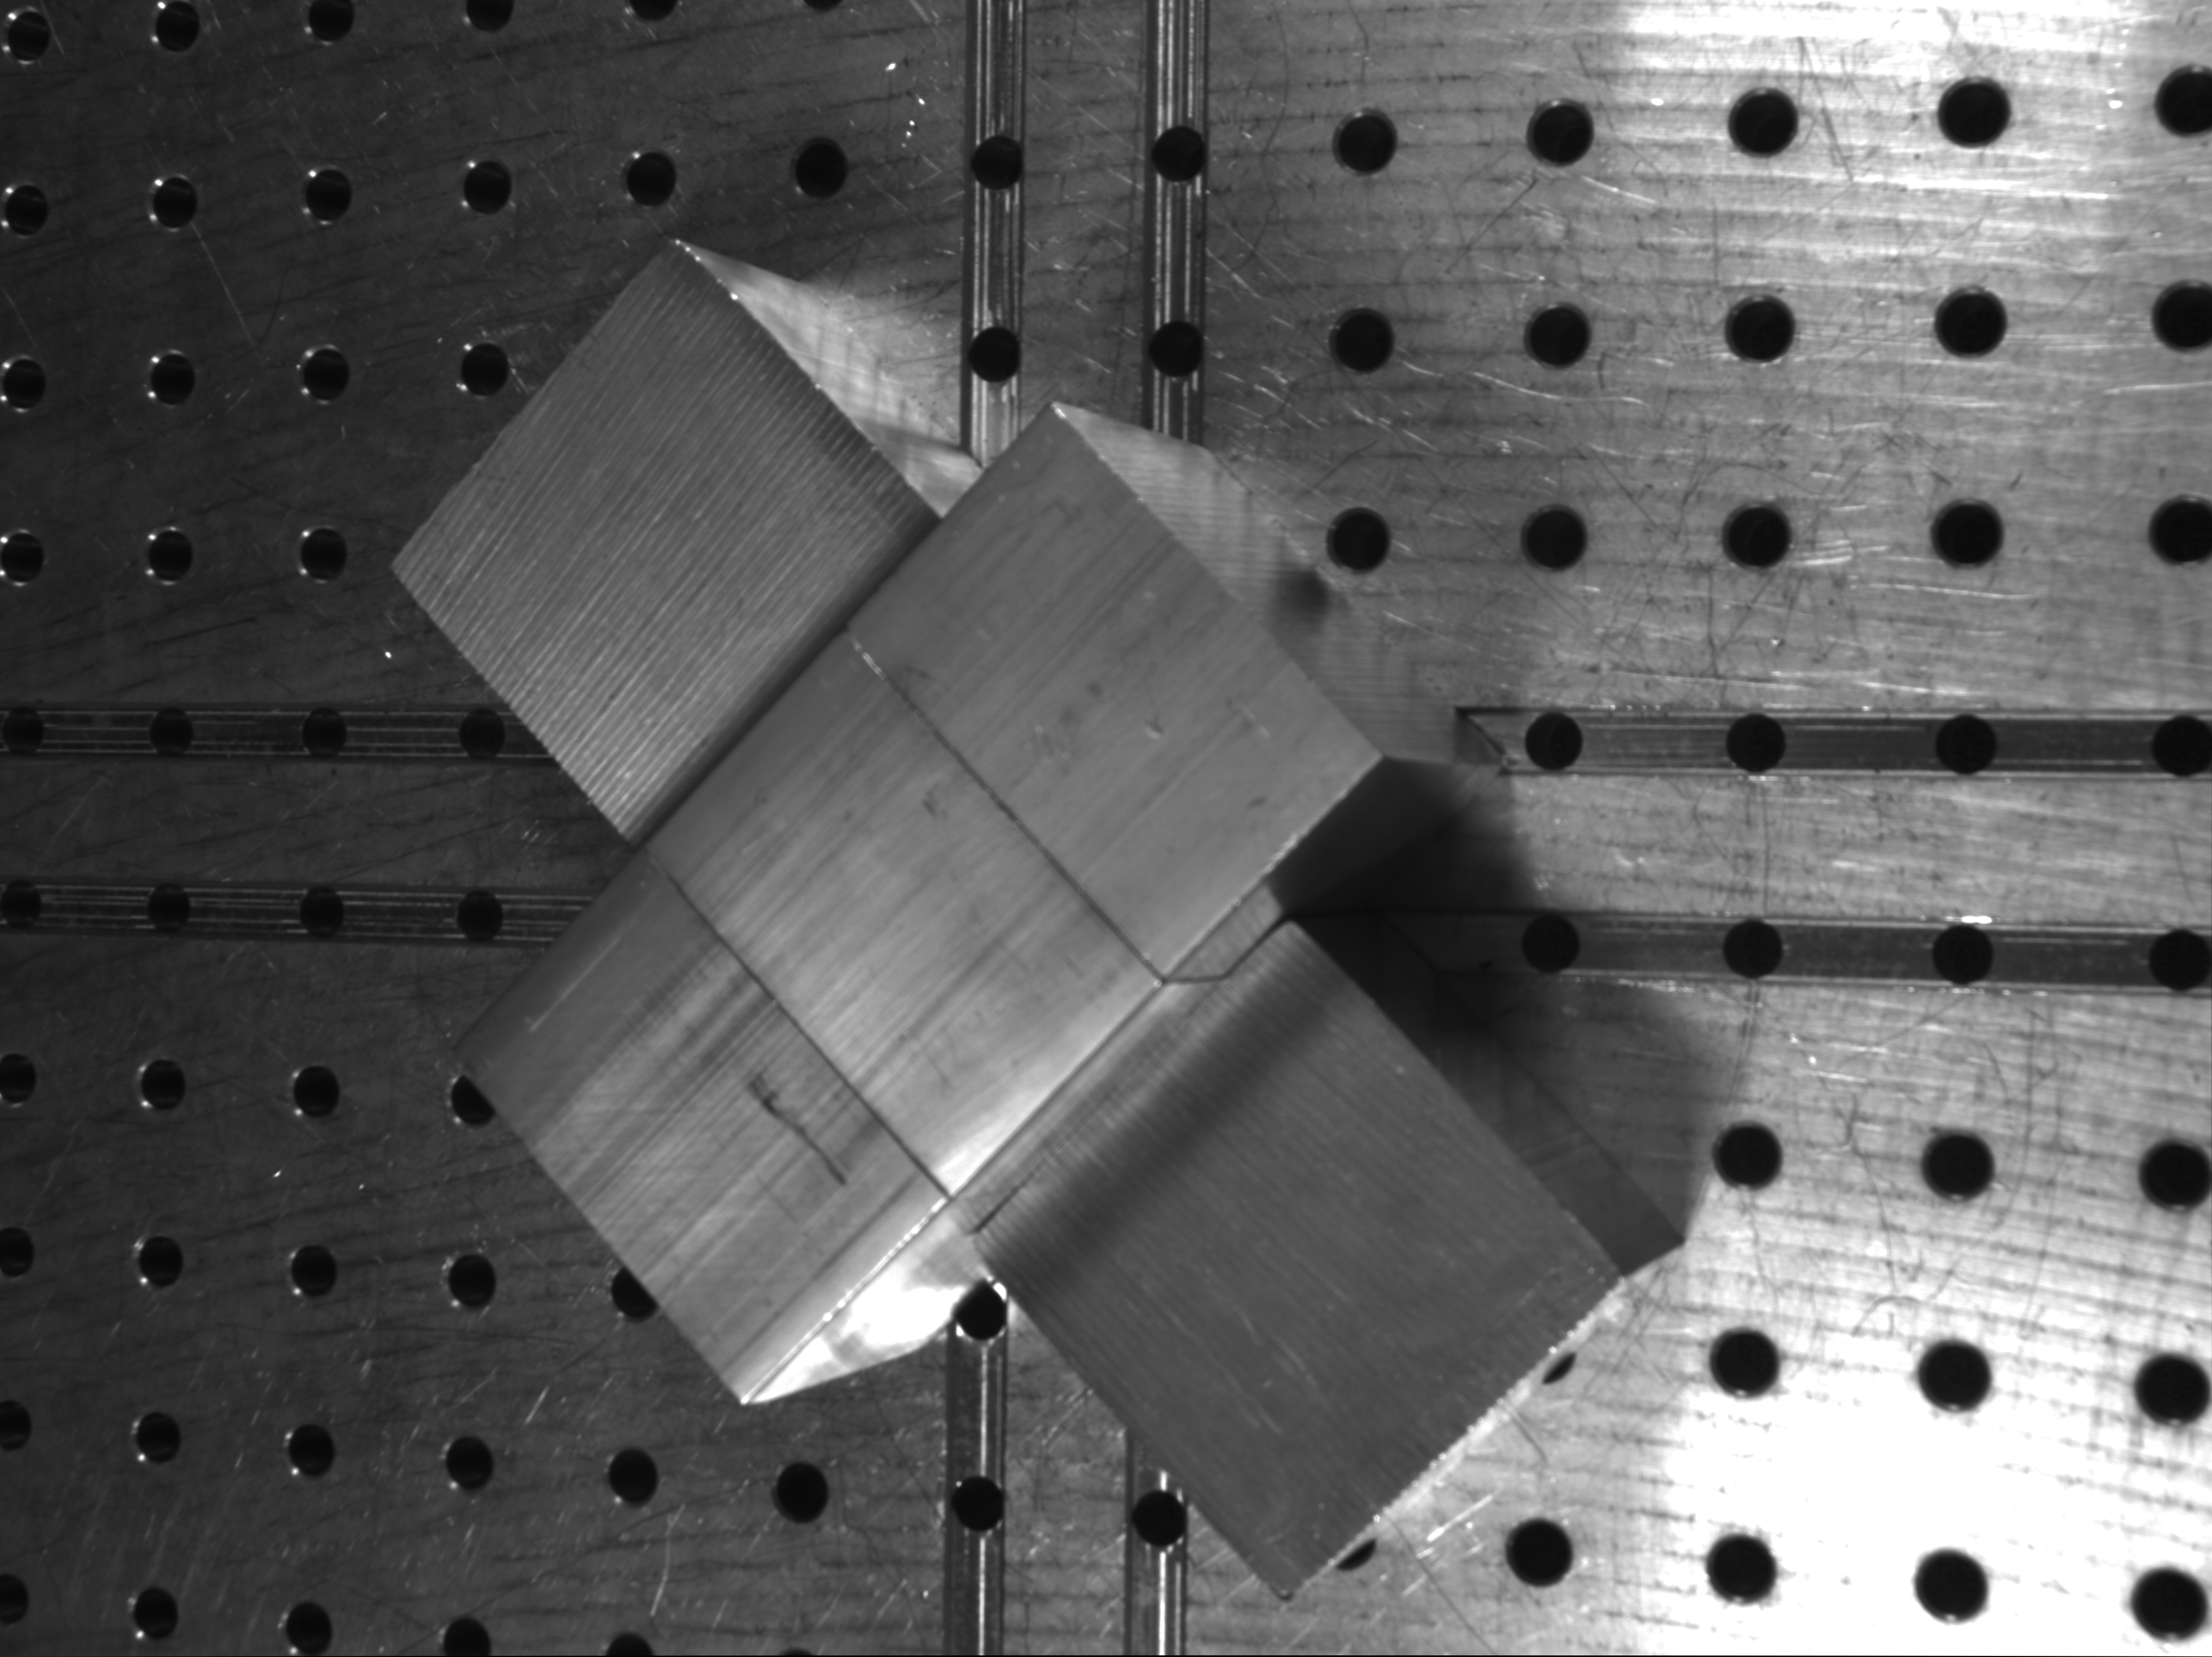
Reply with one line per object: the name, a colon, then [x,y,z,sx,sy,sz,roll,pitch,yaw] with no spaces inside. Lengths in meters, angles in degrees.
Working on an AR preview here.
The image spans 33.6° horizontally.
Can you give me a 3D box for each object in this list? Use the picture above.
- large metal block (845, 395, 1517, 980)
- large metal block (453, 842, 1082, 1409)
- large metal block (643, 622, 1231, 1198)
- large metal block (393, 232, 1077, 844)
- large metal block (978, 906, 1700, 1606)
large metal block: [0.015,-0.022,0.613,0.050,0.080,0.080,-46,76,14]
large metal block: [-0.053,0.048,0.637,0.050,0.080,0.080,-46,76,14]
large metal block: [-0.019,0.013,0.625,0.050,0.080,0.080,-46,76,14]
large metal block: [-0.065,-0.046,0.654,0.080,0.050,0.080,47,105,14]
large metal block: [0.039,0.070,0.619,0.080,0.050,0.080,-46,76,15]
